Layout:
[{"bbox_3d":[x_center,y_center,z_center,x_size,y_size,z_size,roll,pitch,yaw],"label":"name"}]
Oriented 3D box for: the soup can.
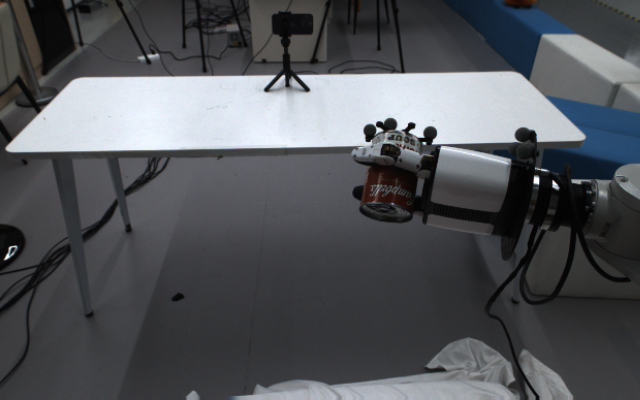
[{"bbox_3d":[0.093,-0.030,0.616,0.067,0.067,0.101,9,70,10],"label":"soup can"}]
